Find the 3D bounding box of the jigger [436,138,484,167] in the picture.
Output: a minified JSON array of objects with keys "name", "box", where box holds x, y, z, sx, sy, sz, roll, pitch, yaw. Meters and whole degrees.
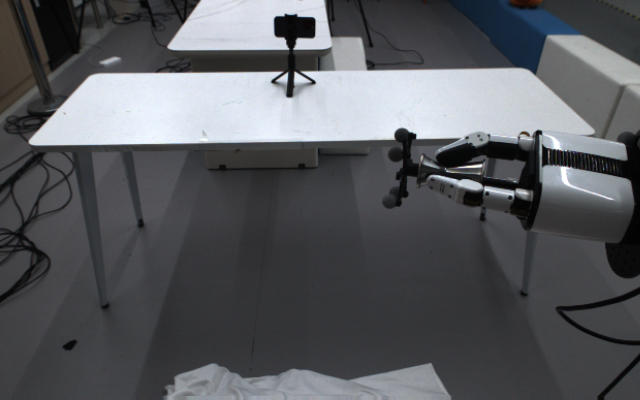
[{"name":"jigger","box":[0.151,-0.031,0.538,0.071,0.043,0.043,9,35,17]}]
